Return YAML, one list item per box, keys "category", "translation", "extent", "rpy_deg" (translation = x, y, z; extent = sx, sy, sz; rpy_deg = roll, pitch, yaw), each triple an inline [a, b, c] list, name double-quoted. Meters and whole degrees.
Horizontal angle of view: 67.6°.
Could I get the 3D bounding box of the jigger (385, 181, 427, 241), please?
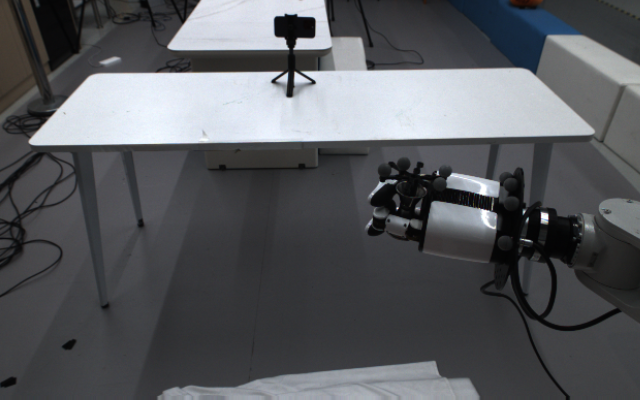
- category: "jigger"
  translation: [0.119, 0.013, 0.650]
  extent: [0.043, 0.071, 0.043]
  rpy_deg: [4, 31, -2]
